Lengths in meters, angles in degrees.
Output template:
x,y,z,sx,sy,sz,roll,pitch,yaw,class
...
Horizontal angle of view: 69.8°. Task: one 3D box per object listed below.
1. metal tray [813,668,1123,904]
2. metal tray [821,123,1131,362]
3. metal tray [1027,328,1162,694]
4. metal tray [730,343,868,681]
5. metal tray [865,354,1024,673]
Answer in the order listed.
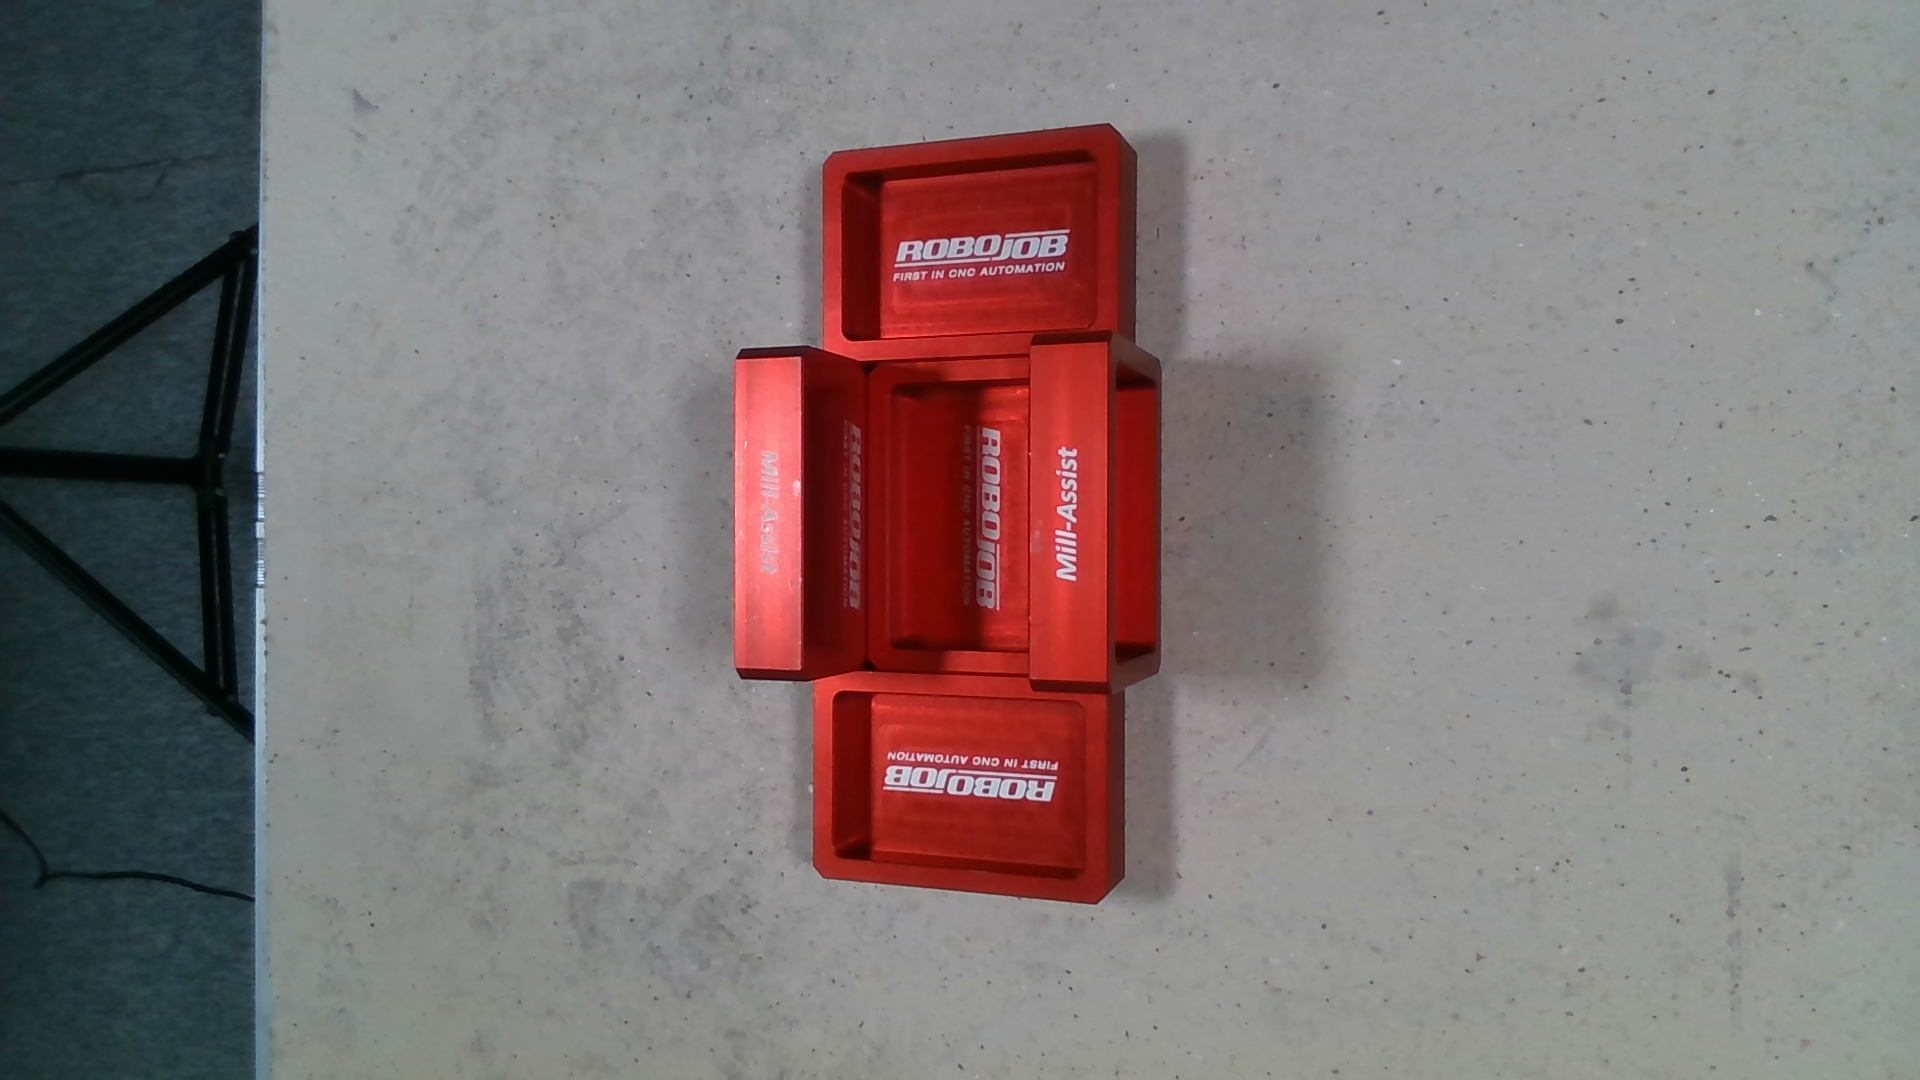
x,y,z,sx,sy,sz,roll,pitch,yaw,class
0.003,0.100,0.583,0.130,0.030,0.090,0,91,20,metal tray
0.007,-0.120,0.579,0.130,0.030,0.090,0,91,20,metal tray
0.054,-0.010,0.531,0.030,0.090,0.130,0,90,20,metal tray
-0.060,-0.011,0.572,0.030,0.090,0.130,0,91,20,metal tray
0.007,-0.011,0.580,0.090,0.030,0.130,1,91,20,metal tray
